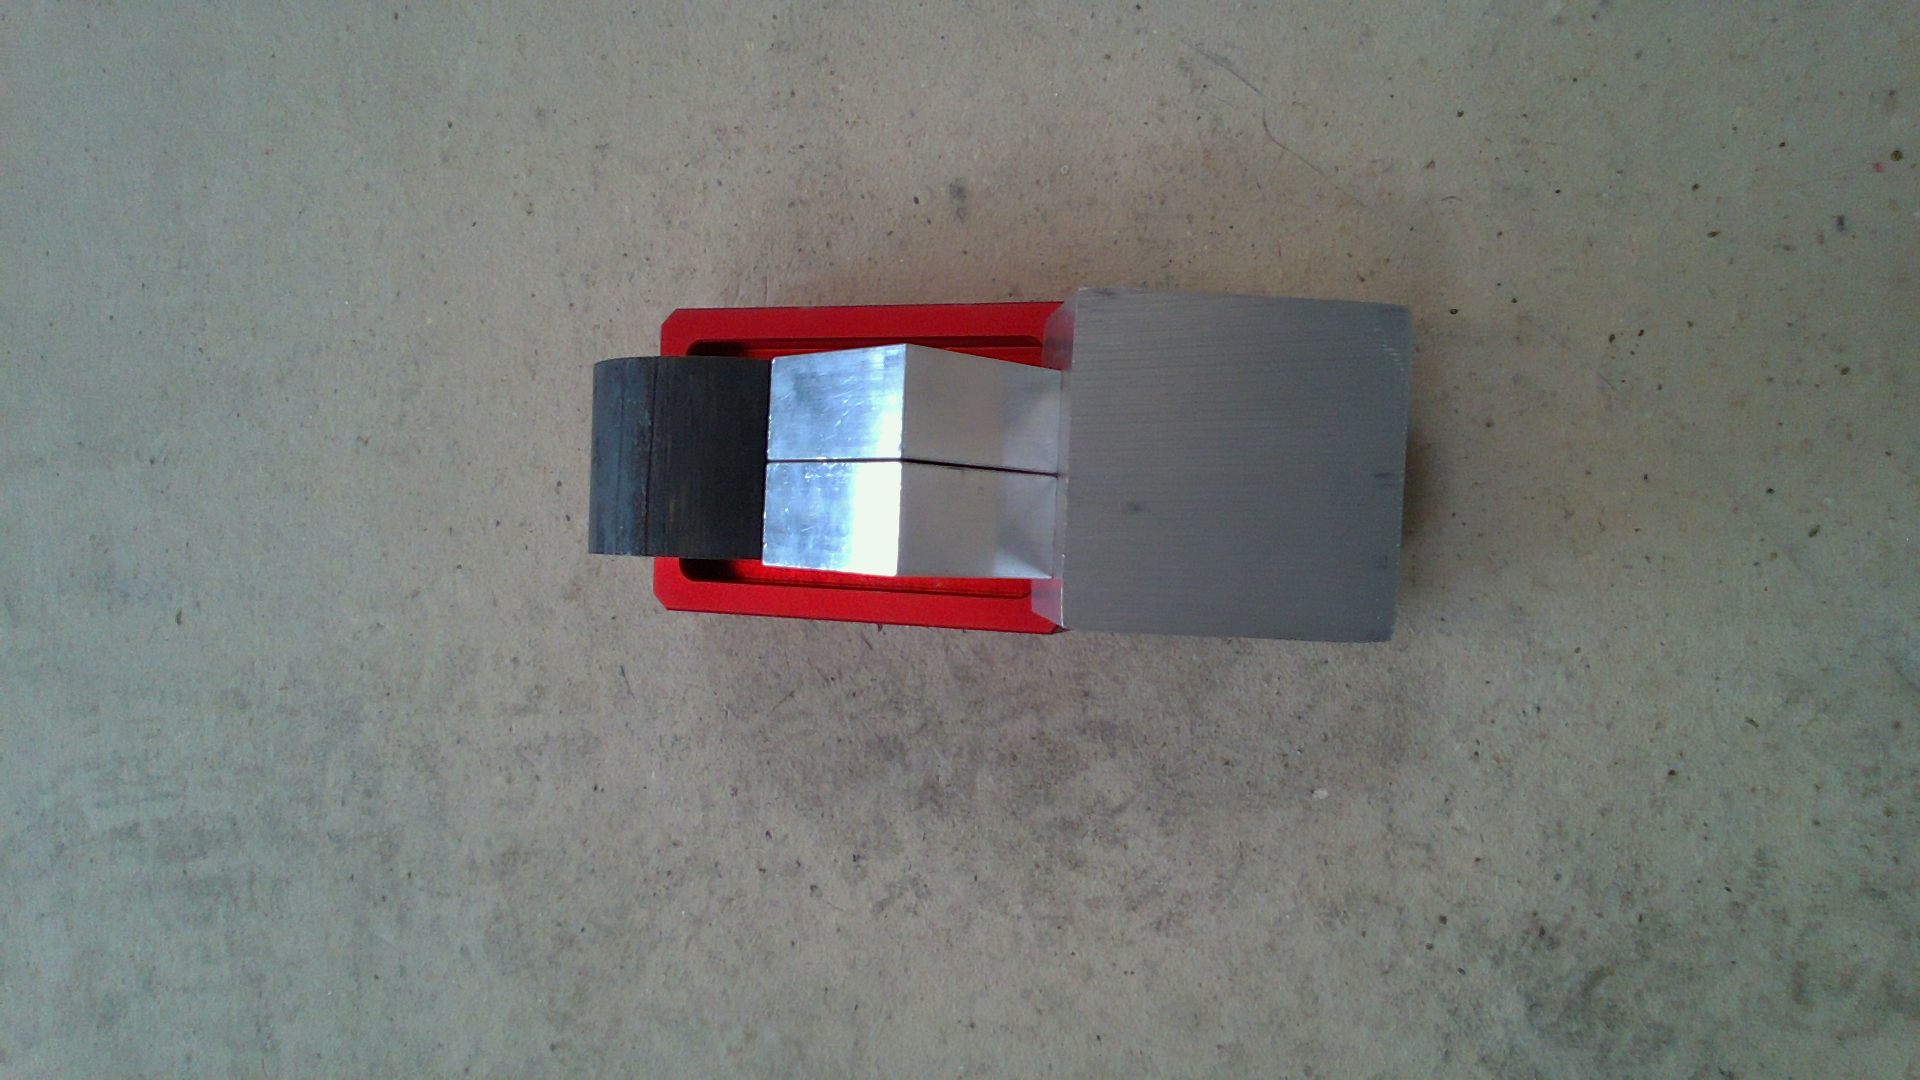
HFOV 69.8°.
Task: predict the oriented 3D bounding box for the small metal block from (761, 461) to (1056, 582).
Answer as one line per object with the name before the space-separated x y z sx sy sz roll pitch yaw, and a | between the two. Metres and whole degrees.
small metal block | -0.012 -0.004 0.331 0.050 0.050 0.025 2 89 46

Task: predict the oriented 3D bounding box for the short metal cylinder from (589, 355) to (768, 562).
short metal cylinder | -0.060 -0.020 0.374 0.080 0.080 0.050 1 90 20

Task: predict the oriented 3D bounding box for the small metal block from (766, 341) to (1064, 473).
small metal block | -0.011 -0.030 0.331 0.050 0.050 0.025 2 89 46

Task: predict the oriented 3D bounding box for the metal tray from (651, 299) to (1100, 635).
metal tray | -0.025 -0.022 0.402 0.130 0.030 0.090 2 91 20

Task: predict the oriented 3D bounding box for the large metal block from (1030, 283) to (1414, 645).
large metal block | 0.062 -0.018 0.345 0.080 0.050 0.080 3 91 -6
